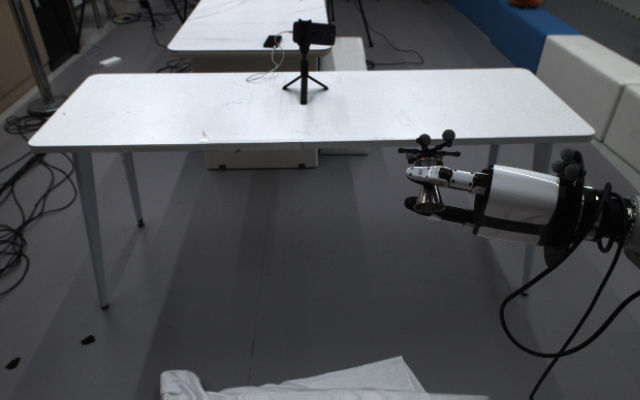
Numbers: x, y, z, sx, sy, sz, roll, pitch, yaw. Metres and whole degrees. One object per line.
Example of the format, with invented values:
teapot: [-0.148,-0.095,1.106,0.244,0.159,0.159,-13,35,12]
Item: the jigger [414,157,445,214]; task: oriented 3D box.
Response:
jigger: [0.153,-0.022,0.686,0.043,0.043,0.071,3,72,1]
